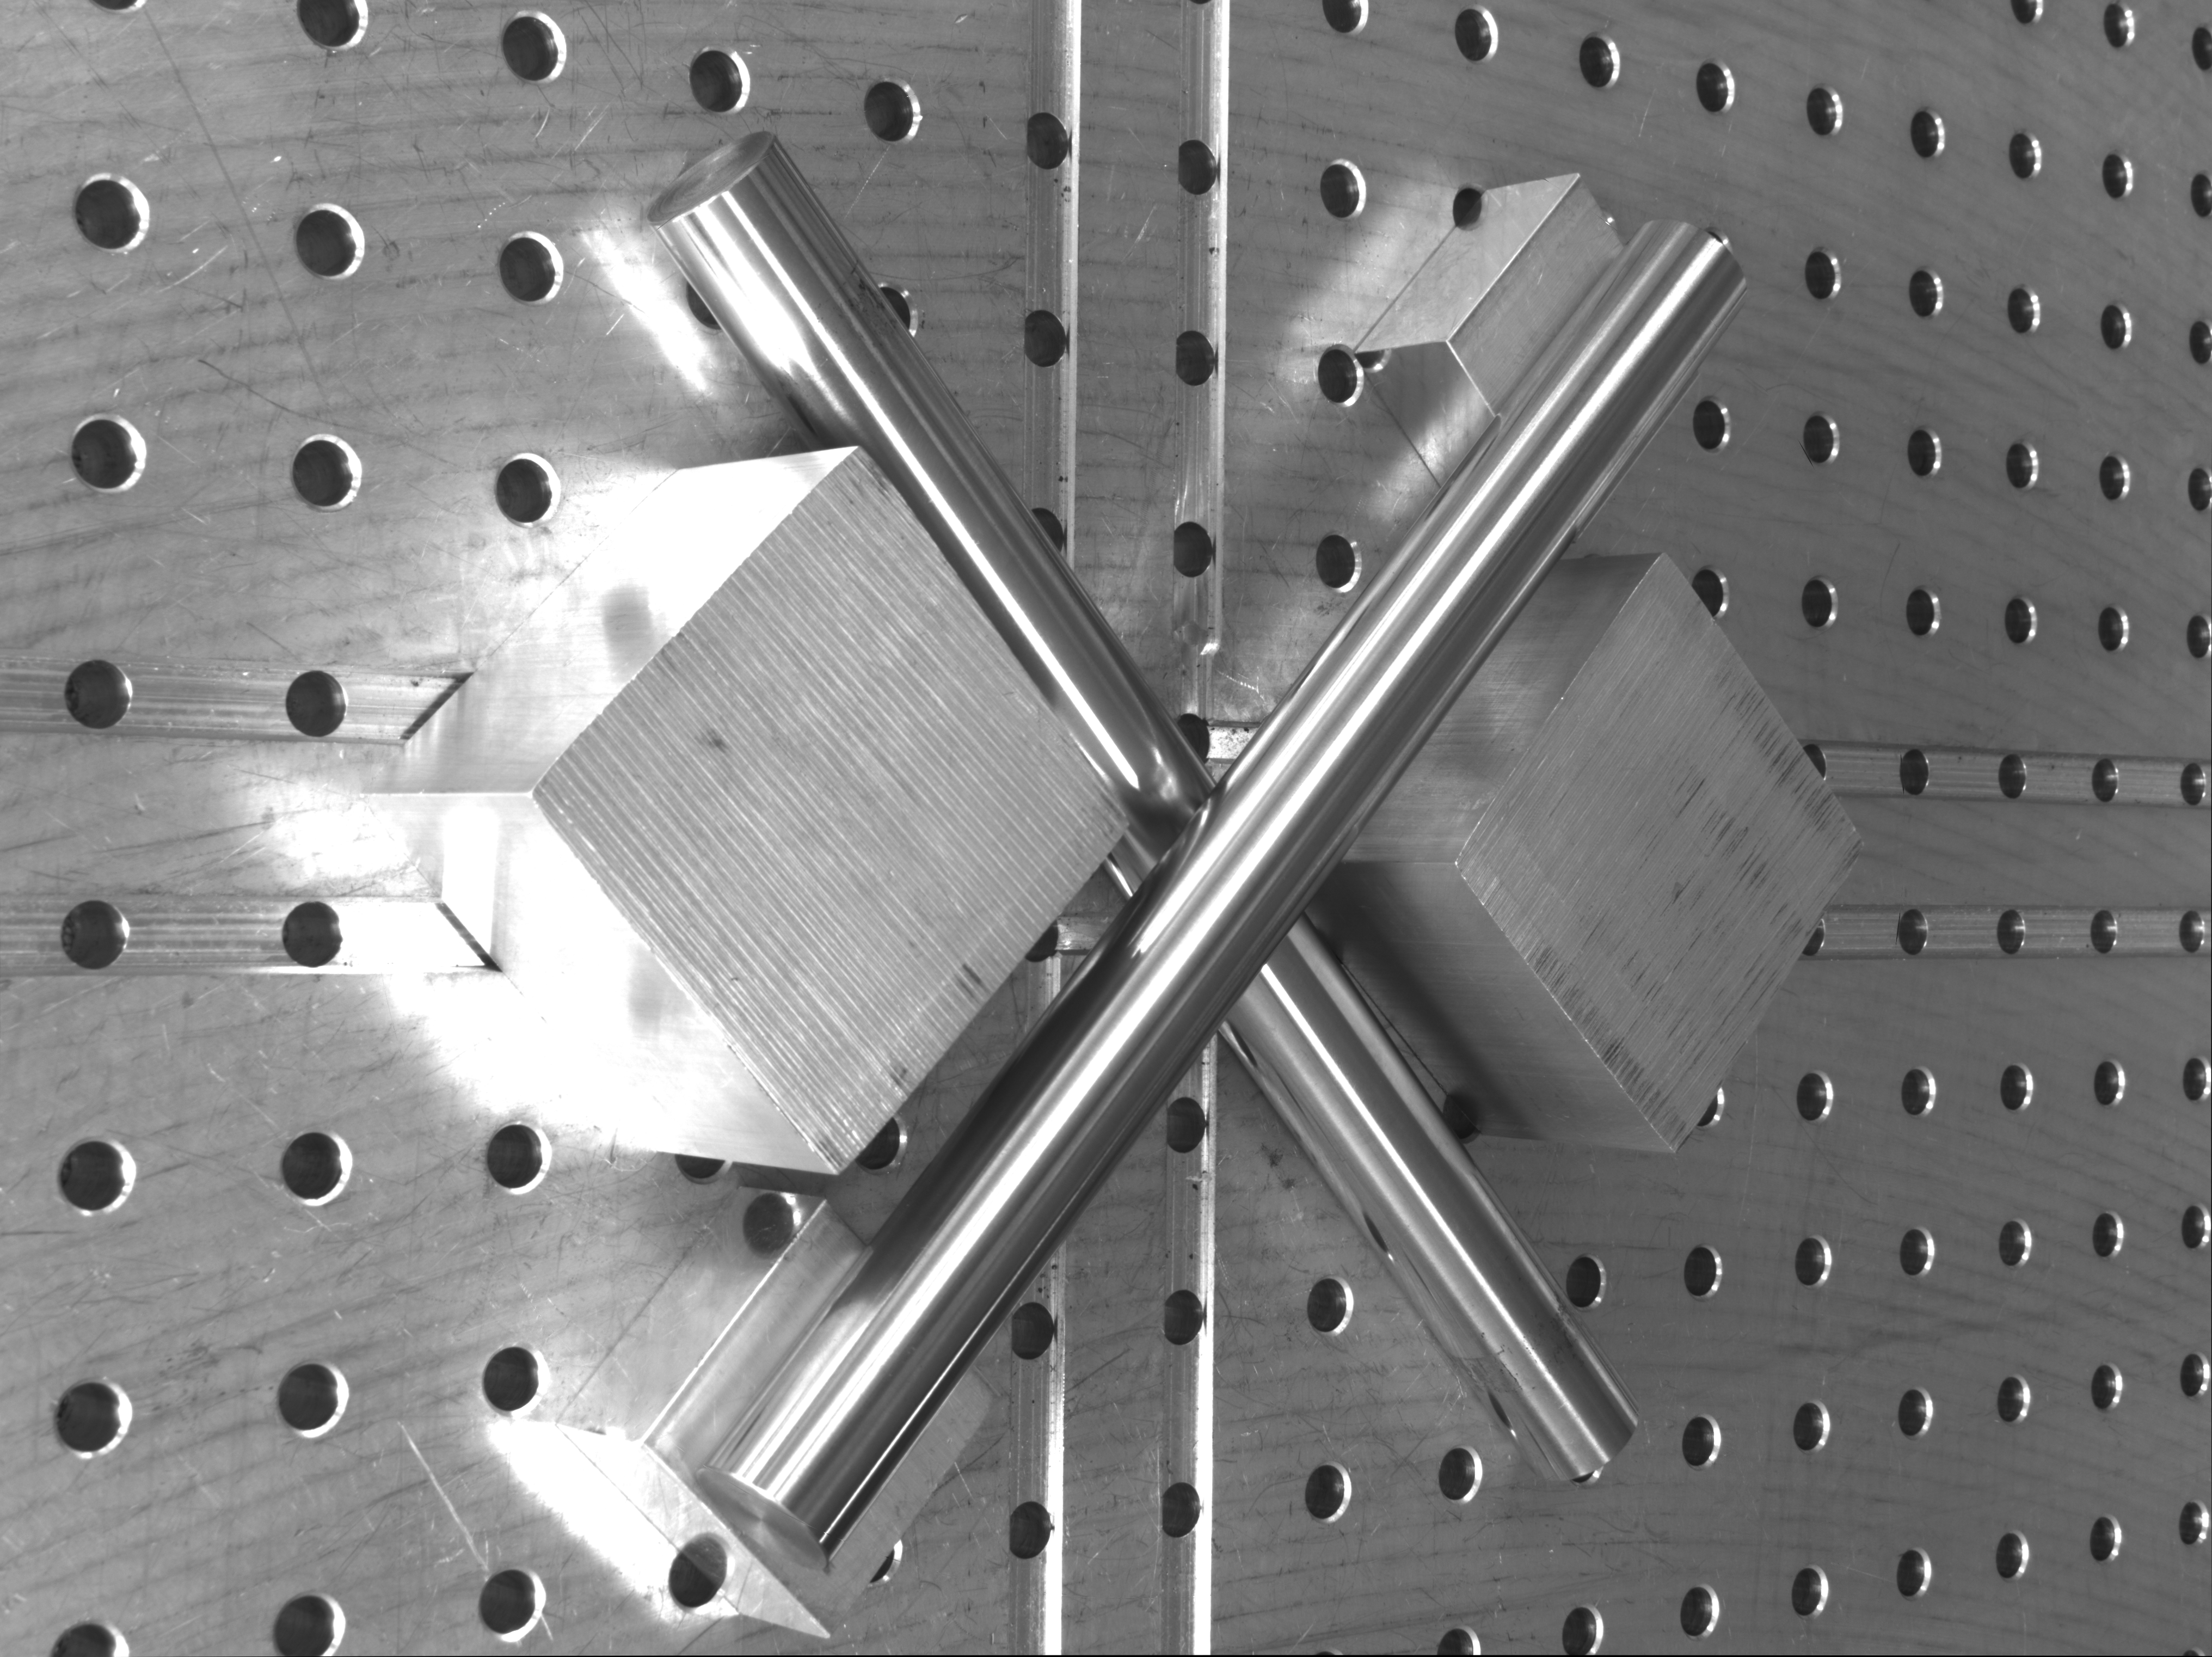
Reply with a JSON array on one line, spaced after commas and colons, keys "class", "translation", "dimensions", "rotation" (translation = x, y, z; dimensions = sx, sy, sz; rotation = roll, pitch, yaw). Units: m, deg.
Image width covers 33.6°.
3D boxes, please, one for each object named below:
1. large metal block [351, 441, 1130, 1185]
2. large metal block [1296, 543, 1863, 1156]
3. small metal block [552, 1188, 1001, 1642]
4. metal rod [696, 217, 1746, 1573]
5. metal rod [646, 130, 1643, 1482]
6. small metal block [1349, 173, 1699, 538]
[{"class": "large metal block", "translation": [-0.056, -0.002, 0.577], "dimensions": [0.080, 0.050, 0.080], "rotation": [-51, 119, -28]}, {"class": "large metal block", "translation": [0.088, 0.004, 0.695], "dimensions": [0.080, 0.050, 0.080], "rotation": [51, 60, -28]}, {"class": "small metal block", "translation": [-0.053, 0.095, 0.595], "dimensions": [0.050, 0.025, 0.050], "rotation": [52, 60, -27]}, {"class": "metal rod", "translation": [0.029, 0.000, 0.630], "dimensions": [0.025, 0.025, 0.301], "rotation": [52, 60, -27]}, {"class": "metal rod", "translation": [0.015, 0.007, 0.650], "dimensions": [0.025, 0.025, 0.301], "rotation": [-50, 119, -28]}, {"class": "small metal block", "translation": [0.081, -0.089, 0.707], "dimensions": [0.050, 0.025, 0.050], "rotation": [-52, 120, -27]}]
